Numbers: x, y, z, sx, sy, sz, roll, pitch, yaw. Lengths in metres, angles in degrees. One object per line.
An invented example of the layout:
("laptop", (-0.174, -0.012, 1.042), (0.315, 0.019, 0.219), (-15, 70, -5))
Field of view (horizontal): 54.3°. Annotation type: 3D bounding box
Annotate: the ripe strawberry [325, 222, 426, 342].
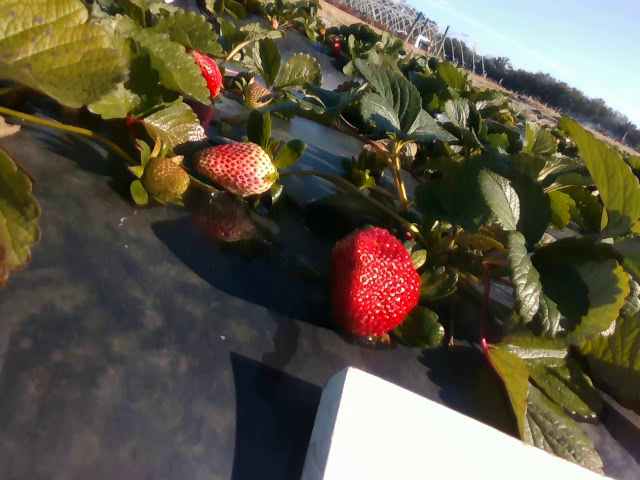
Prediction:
("ripe strawberry", (0.017, 0.017, 0.245), (0.058, 0.066, 0.062), (-27, -12, -8))
